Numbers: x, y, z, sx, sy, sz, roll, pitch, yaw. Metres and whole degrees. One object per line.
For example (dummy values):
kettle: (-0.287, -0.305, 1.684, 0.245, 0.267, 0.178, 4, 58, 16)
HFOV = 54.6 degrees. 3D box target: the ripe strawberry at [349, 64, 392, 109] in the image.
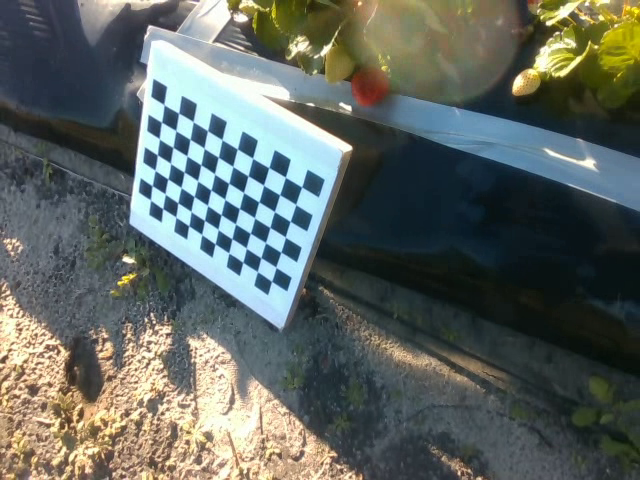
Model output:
ripe strawberry: (0.052, -0.160, 0.653, 0.049, 0.064, 0.045, 32, -45, -17)
